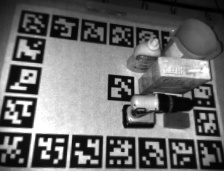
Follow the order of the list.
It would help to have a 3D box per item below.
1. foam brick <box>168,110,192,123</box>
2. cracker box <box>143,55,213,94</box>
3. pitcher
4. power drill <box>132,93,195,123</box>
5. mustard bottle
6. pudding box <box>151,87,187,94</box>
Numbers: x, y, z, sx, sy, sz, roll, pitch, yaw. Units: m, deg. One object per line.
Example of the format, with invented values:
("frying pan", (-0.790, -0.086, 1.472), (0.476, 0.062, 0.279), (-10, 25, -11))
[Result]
("foam brick", (0.248, 0.110, 0.787), (0.078, 0.051, 0.052), (5, 73, -10))
("cracker box", (0.212, -0.026, 0.730), (0.165, 0.213, 0.072), (0, 70, -9))
("pitcher", (0.259, -0.122, 0.765), (0.189, 0.242, 0.133), (8, 71, -6))
("power drill", (0.148, 0.071, 0.669), (0.185, 0.187, 0.057), (1, 69, -12))
("mustard bottle", (0.126, -0.124, 0.750), (0.096, 0.191, 0.058), (15, 71, -6))
("pudding box", (0.196, 0.037, 0.765), (0.114, 0.090, 0.038), (2, 70, -8))
